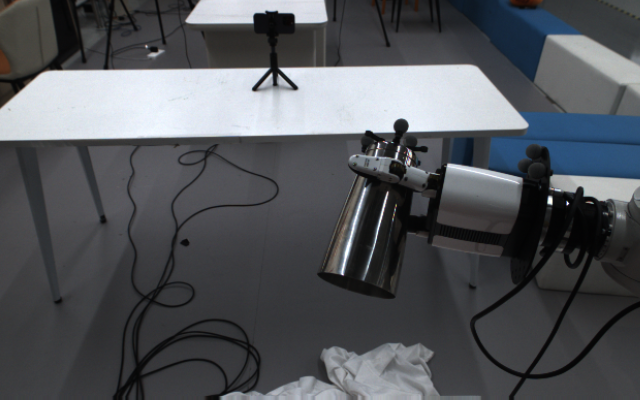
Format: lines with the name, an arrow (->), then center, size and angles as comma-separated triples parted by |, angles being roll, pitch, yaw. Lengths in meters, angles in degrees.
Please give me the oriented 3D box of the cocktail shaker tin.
cocktail shaker tin -> 0.067, 0.018, 0.574 | 0.093, 0.093, 0.170 | 13, 71, 15
